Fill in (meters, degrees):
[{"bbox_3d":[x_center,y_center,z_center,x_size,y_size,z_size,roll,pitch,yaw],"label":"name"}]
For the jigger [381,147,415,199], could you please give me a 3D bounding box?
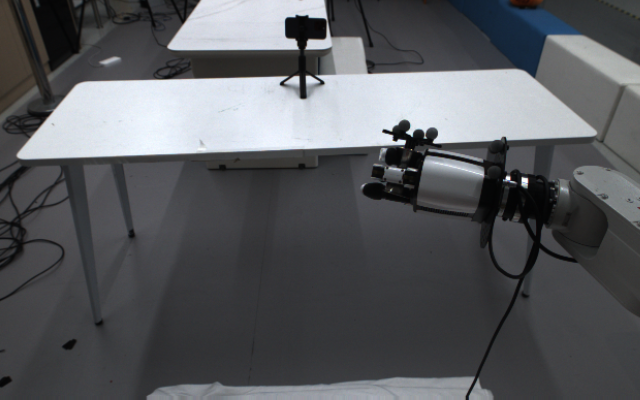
[{"bbox_3d":[0.121,-0.041,0.710,0.043,0.071,0.043,17,2,-1],"label":"jigger"}]
